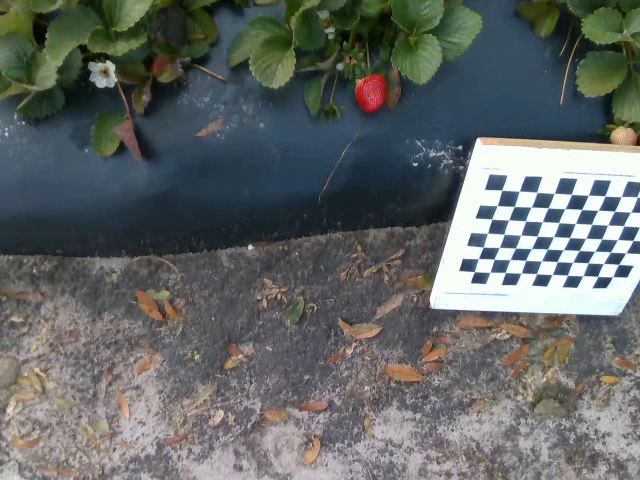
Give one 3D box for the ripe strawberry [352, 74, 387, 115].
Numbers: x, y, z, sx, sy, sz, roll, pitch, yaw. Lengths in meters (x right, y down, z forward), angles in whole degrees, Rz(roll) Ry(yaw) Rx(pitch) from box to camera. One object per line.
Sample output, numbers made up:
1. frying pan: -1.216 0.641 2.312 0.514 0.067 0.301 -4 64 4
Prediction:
1. ripe strawberry: 0.067 -0.191 0.881 0.050 0.053 0.049 -4 -31 -2
